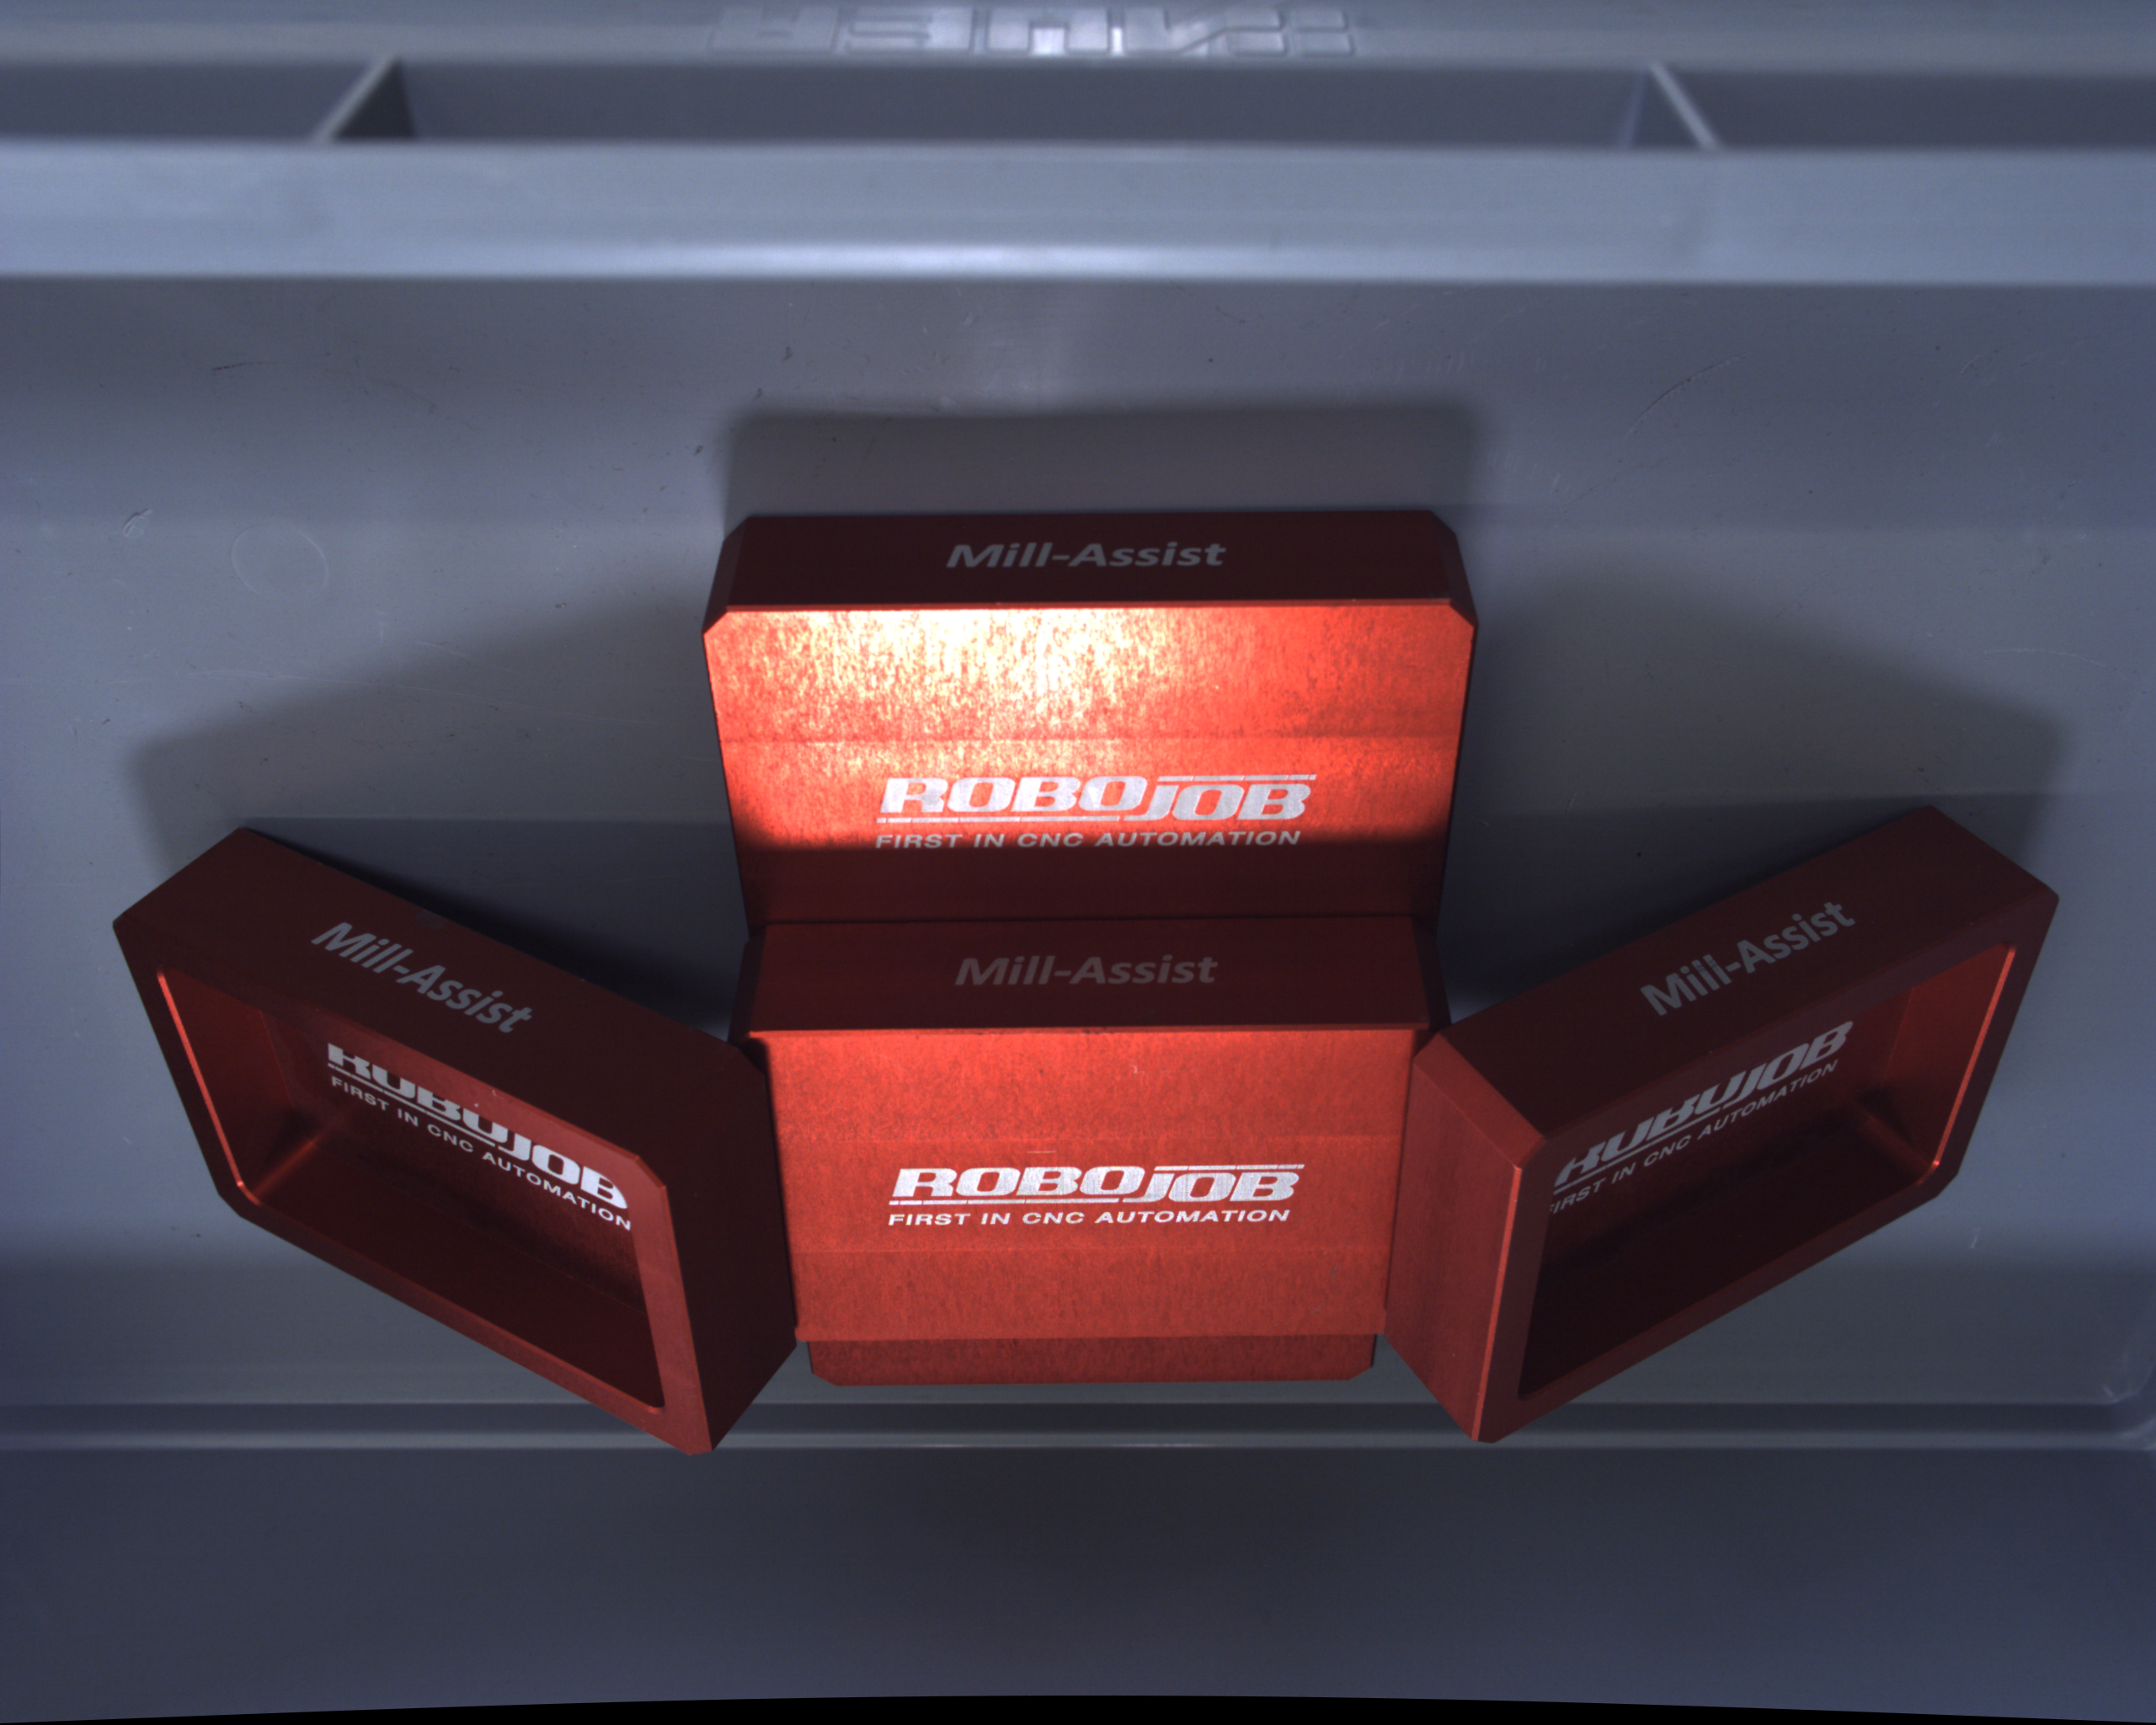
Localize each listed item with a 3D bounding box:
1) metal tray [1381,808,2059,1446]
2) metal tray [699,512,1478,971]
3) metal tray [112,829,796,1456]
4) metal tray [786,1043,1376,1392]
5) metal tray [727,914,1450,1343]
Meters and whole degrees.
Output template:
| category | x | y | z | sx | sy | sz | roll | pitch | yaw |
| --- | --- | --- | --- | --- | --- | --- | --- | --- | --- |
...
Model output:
| category | x | y | z | sx | sy | sz | roll | pitch | yaw |
| --- | --- | --- | --- | --- | --- | --- | --- | --- | --- |
| metal tray | 0.123 | 0.051 | 0.407 | 0.131 | 0.030 | 0.089 | -21 | 134 | -21 |
| metal tray | 0.002 | -0.018 | 0.387 | 0.131 | 0.030 | 0.089 | -1 | 130 | 0 |
| metal tray | -0.120 | 0.055 | 0.409 | 0.130 | 0.030 | 0.089 | 21 | 135 | 21 |
| metal tray | 0.003 | 0.080 | 0.470 | 0.131 | 0.030 | 0.089 | -1 | 130 | 0 |
| metal tray | 0.003 | 0.054 | 0.410 | 0.131 | 0.030 | 0.089 | -1 | 130 | 0 |
